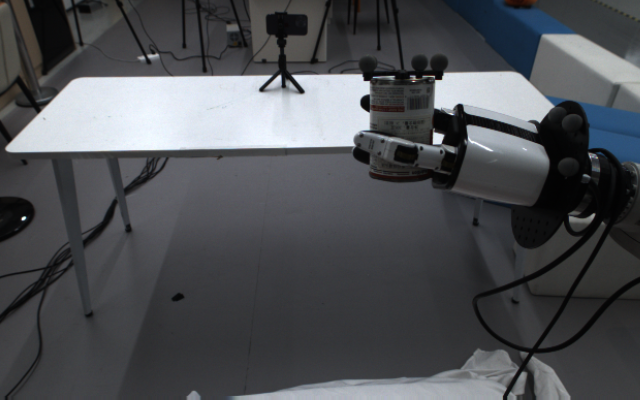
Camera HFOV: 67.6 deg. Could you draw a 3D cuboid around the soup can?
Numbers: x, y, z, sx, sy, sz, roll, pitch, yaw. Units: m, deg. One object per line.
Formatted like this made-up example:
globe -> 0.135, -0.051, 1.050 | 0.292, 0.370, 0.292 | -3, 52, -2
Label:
soup can -> 0.088, -0.075, 0.507 | 0.067, 0.101, 0.067 | -2, 17, 0
